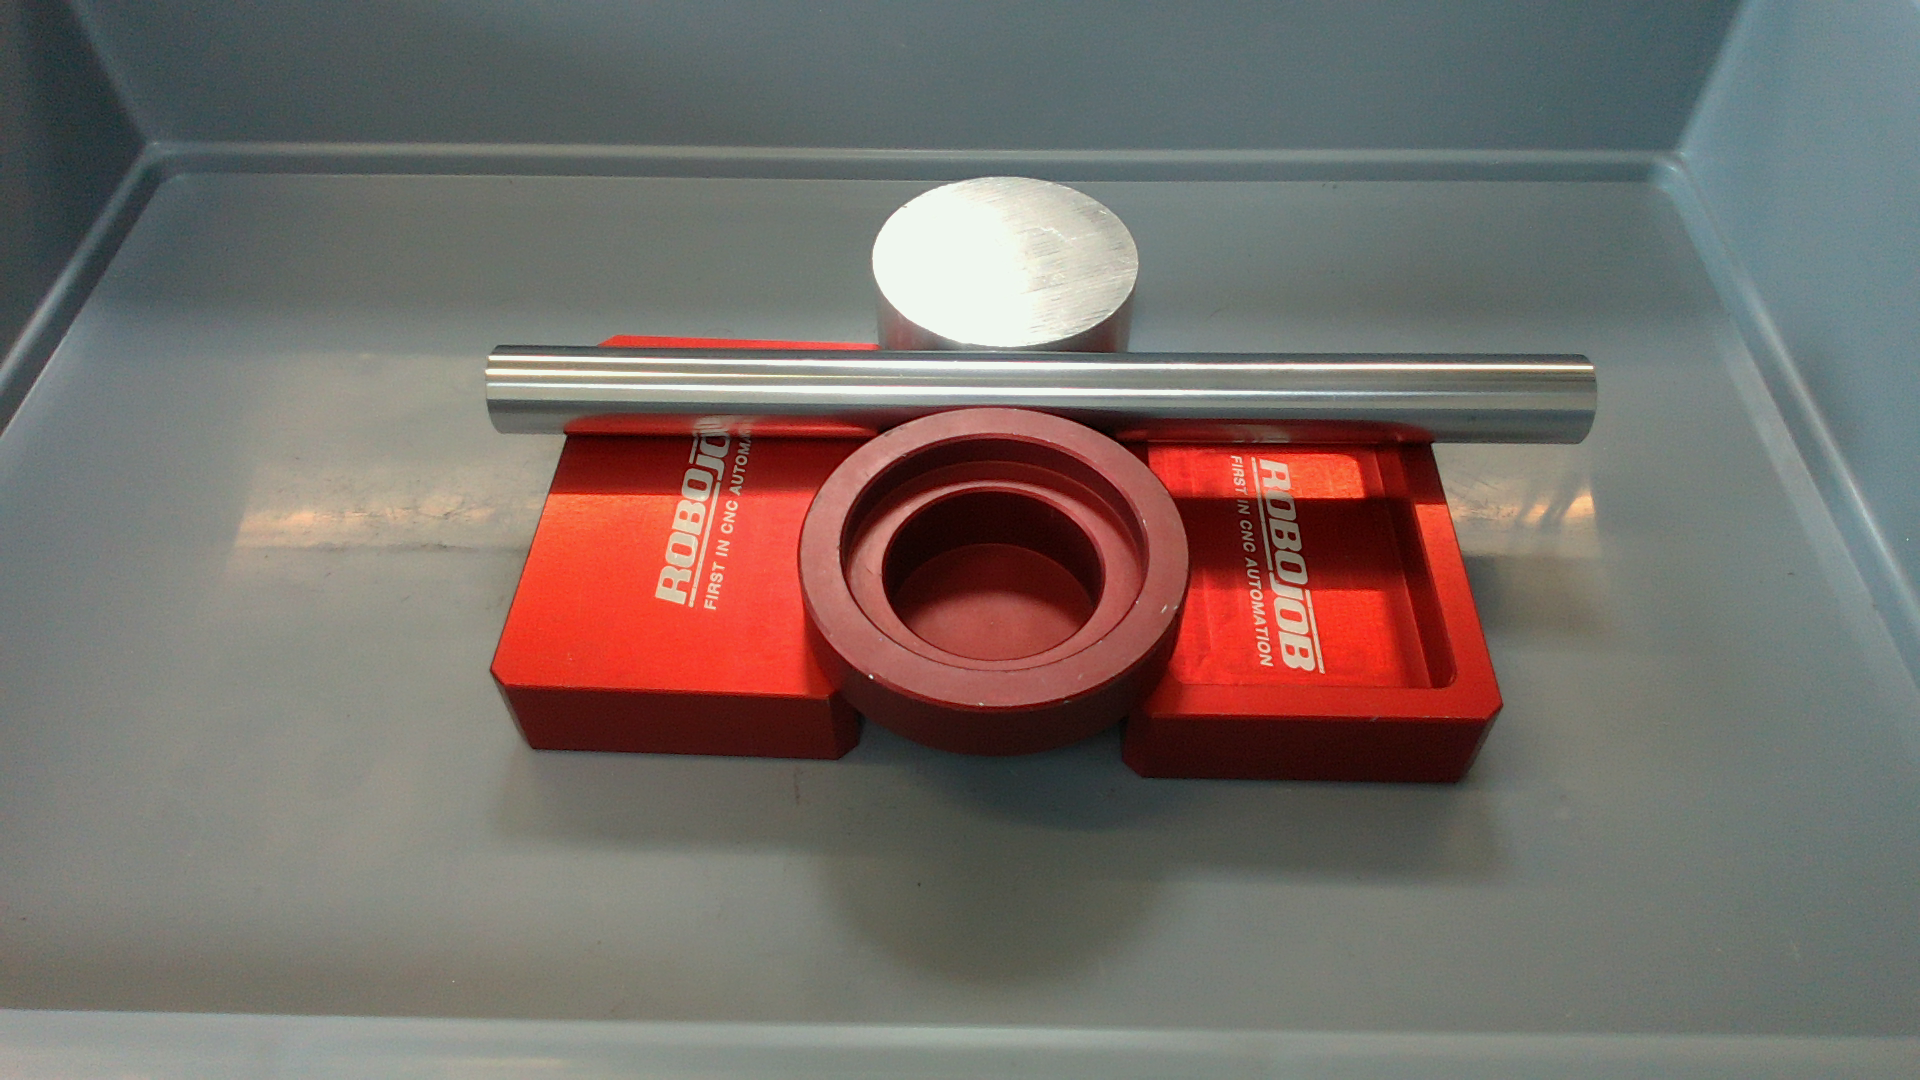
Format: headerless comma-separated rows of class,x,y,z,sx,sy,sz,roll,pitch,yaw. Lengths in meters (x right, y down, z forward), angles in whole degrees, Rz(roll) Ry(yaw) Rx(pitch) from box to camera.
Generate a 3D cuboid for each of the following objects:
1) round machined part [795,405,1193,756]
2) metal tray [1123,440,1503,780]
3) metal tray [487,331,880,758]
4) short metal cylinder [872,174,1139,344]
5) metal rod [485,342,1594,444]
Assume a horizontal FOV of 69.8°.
round machined part,0.008,0.014,0.355,0.098,0.042,0.098,0,50,0
metal tray,0.088,0.003,0.384,0.090,0.030,0.130,1,50,1
metal tray,-0.069,-0.004,0.388,0.090,0.030,0.130,2,50,2
short metal cylinder,0.014,-0.070,0.432,0.080,0.050,0.080,0,50,0
metal rod,0.021,-0.041,0.385,0.300,0.025,0.025,1,50,0
